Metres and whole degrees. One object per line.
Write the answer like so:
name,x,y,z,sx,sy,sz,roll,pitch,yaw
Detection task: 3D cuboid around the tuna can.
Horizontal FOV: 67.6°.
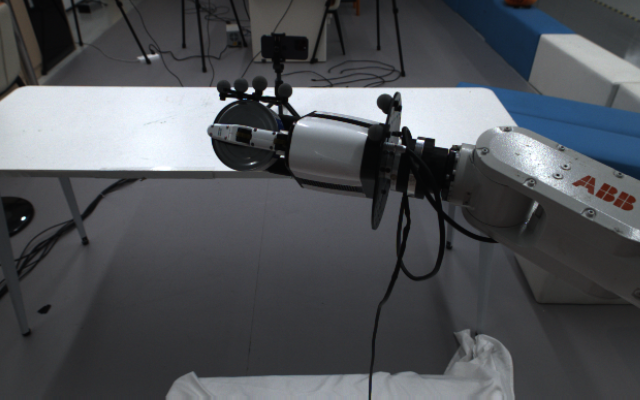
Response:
tuna can,-0.086,-0.078,0.589,0.085,0.085,0.034,12,1,13
